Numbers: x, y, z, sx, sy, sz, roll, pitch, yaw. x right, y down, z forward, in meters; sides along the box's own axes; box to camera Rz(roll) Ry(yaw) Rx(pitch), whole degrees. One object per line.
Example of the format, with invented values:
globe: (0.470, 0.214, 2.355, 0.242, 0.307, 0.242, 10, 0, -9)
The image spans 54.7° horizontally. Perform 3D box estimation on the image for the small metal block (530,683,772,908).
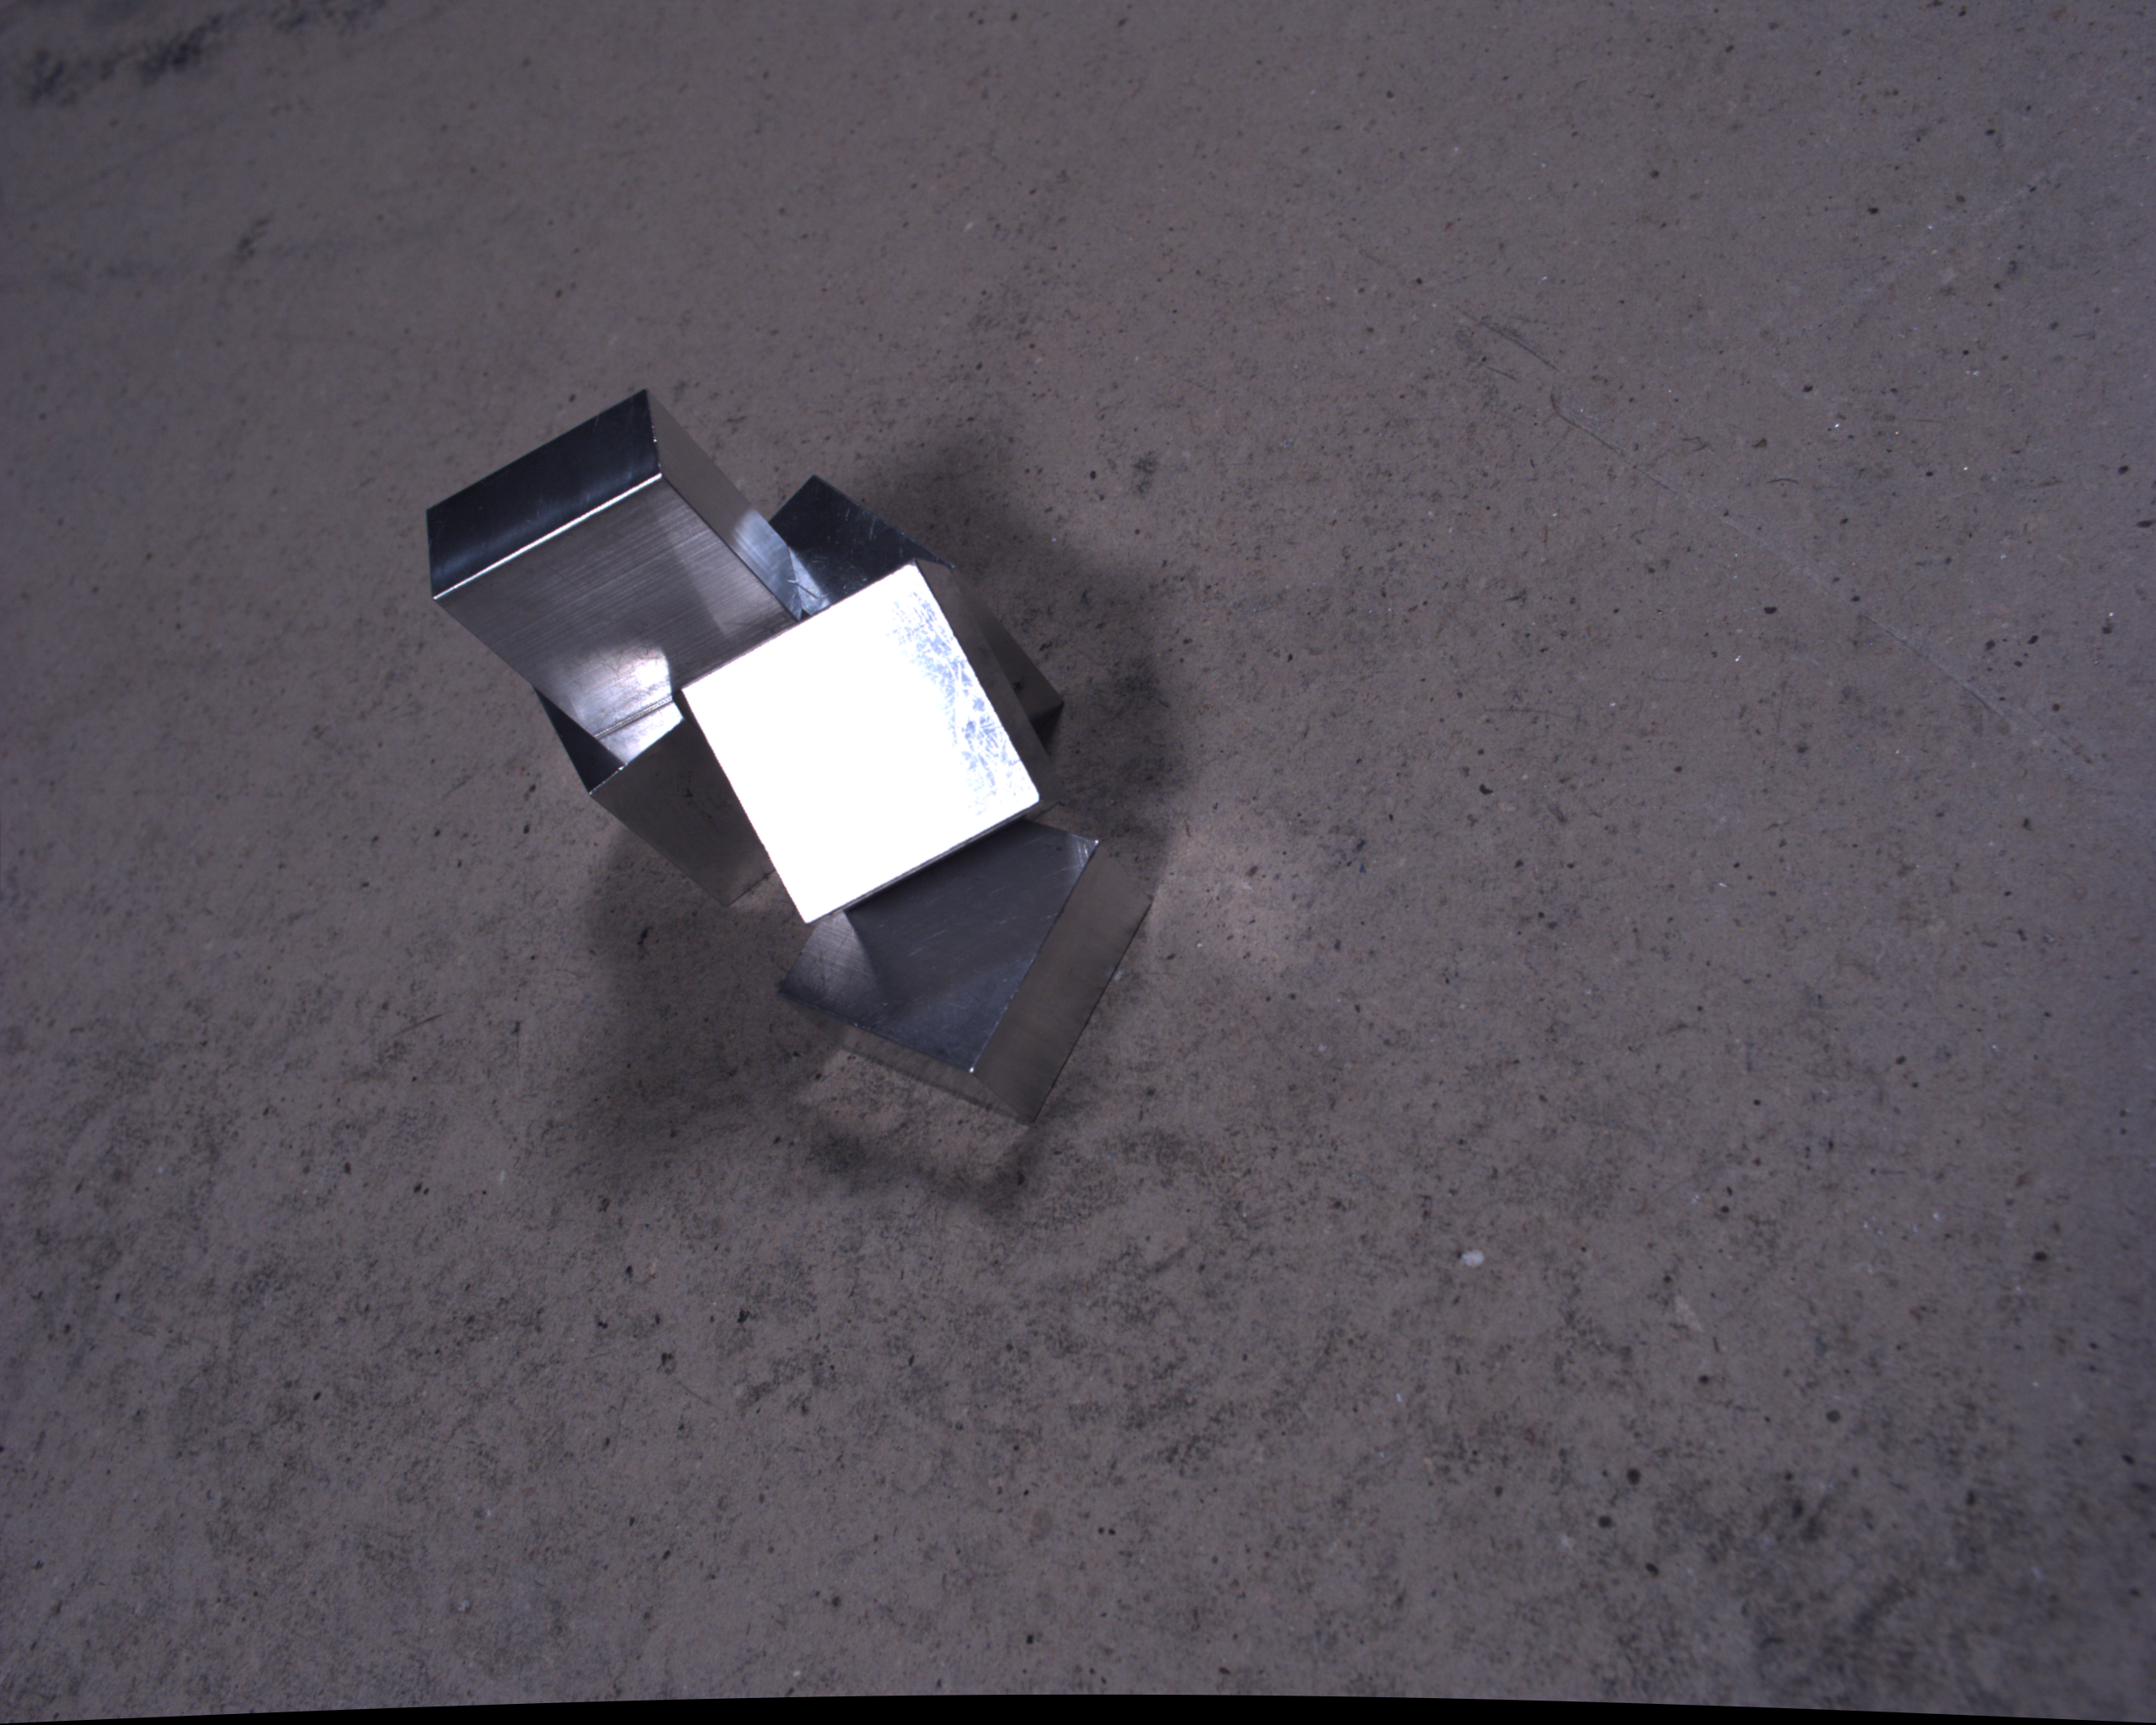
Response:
small metal block: (-0.089, -0.025, 0.450, 0.025, 0.050, 0.050, -38, 51, 2)

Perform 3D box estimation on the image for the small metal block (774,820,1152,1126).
small metal block: (-0.022, 0.017, 0.405, 0.050, 0.025, 0.050, 17, 71, 34)

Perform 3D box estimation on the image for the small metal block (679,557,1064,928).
small metal block: (-0.037, -0.022, 0.389, 0.050, 0.025, 0.050, -28, 90, 10)

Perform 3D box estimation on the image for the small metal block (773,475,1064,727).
small metal block: (-0.037, -0.048, 0.437, 0.025, 0.050, 0.050, -49, 52, -6)

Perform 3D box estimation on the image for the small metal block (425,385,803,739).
small metal block: (-0.089, -0.057, 0.405, 0.050, 0.050, 0.025, -26, 53, 12)
